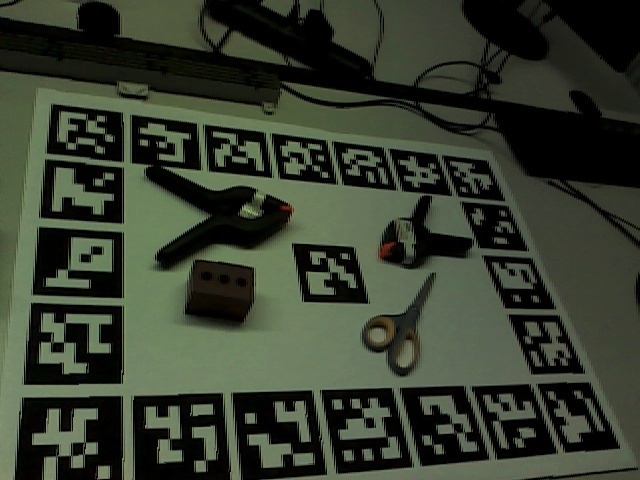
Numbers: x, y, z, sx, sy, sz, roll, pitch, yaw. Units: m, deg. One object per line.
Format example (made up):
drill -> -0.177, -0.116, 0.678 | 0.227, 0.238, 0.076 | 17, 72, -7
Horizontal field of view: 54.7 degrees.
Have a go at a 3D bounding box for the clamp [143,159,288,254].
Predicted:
clamp -> -0.144, -0.048, 0.887 | 0.202, 0.036, 0.166 | 1, 50, -24

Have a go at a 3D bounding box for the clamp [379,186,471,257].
clamp -> 0.159, -0.018, 1.000 | 0.164, 0.036, 0.122 | -24, 73, -35

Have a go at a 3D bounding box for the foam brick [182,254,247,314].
foam brick -> -0.136, 0.058, 0.799 | 0.078, 0.051, 0.053 | 8, 52, -12

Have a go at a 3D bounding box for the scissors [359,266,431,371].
scissors -> 0.124, 0.097, 0.897 | 0.088, 0.016, 0.202 | 39, 47, -1
